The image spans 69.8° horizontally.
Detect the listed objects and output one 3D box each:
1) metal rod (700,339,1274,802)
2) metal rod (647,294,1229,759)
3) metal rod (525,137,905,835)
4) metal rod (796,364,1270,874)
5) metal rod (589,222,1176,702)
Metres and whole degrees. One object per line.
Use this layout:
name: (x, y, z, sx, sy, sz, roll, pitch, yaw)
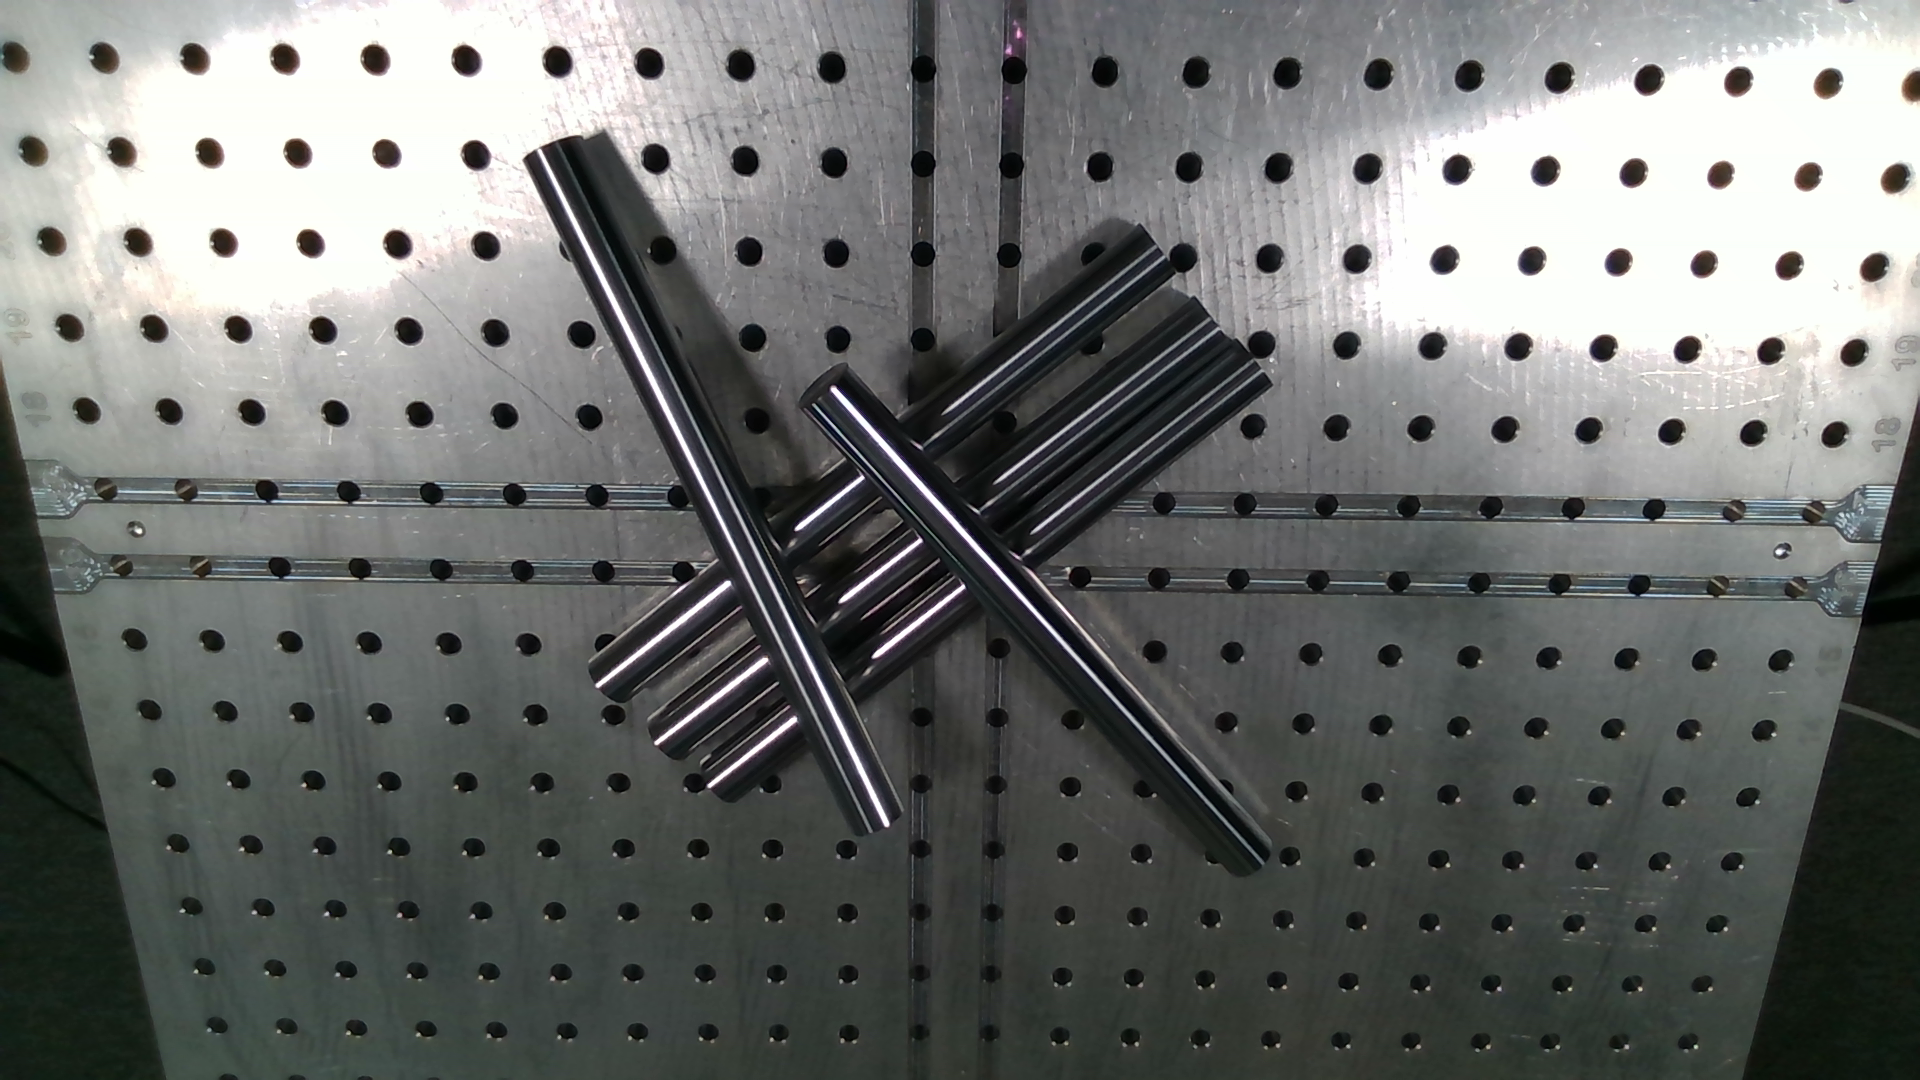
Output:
metal rod: (0.005, 0.018, 0.594, 0.300, 0.025, 0.025, -38, 106, 13)
metal rod: (-0.015, 0.000, 0.587, 0.300, 0.025, 0.025, -37, 106, 13)
metal rod: (-0.096, -0.016, 0.559, 0.025, 0.025, 0.300, -23, 100, 8)
metal rod: (0.040, 0.043, 0.581, 0.025, 0.025, 0.301, -37, 114, 13)
metal rod: (-0.039, -0.027, 0.577, 0.300, 0.025, 0.025, -37, 106, 13)
